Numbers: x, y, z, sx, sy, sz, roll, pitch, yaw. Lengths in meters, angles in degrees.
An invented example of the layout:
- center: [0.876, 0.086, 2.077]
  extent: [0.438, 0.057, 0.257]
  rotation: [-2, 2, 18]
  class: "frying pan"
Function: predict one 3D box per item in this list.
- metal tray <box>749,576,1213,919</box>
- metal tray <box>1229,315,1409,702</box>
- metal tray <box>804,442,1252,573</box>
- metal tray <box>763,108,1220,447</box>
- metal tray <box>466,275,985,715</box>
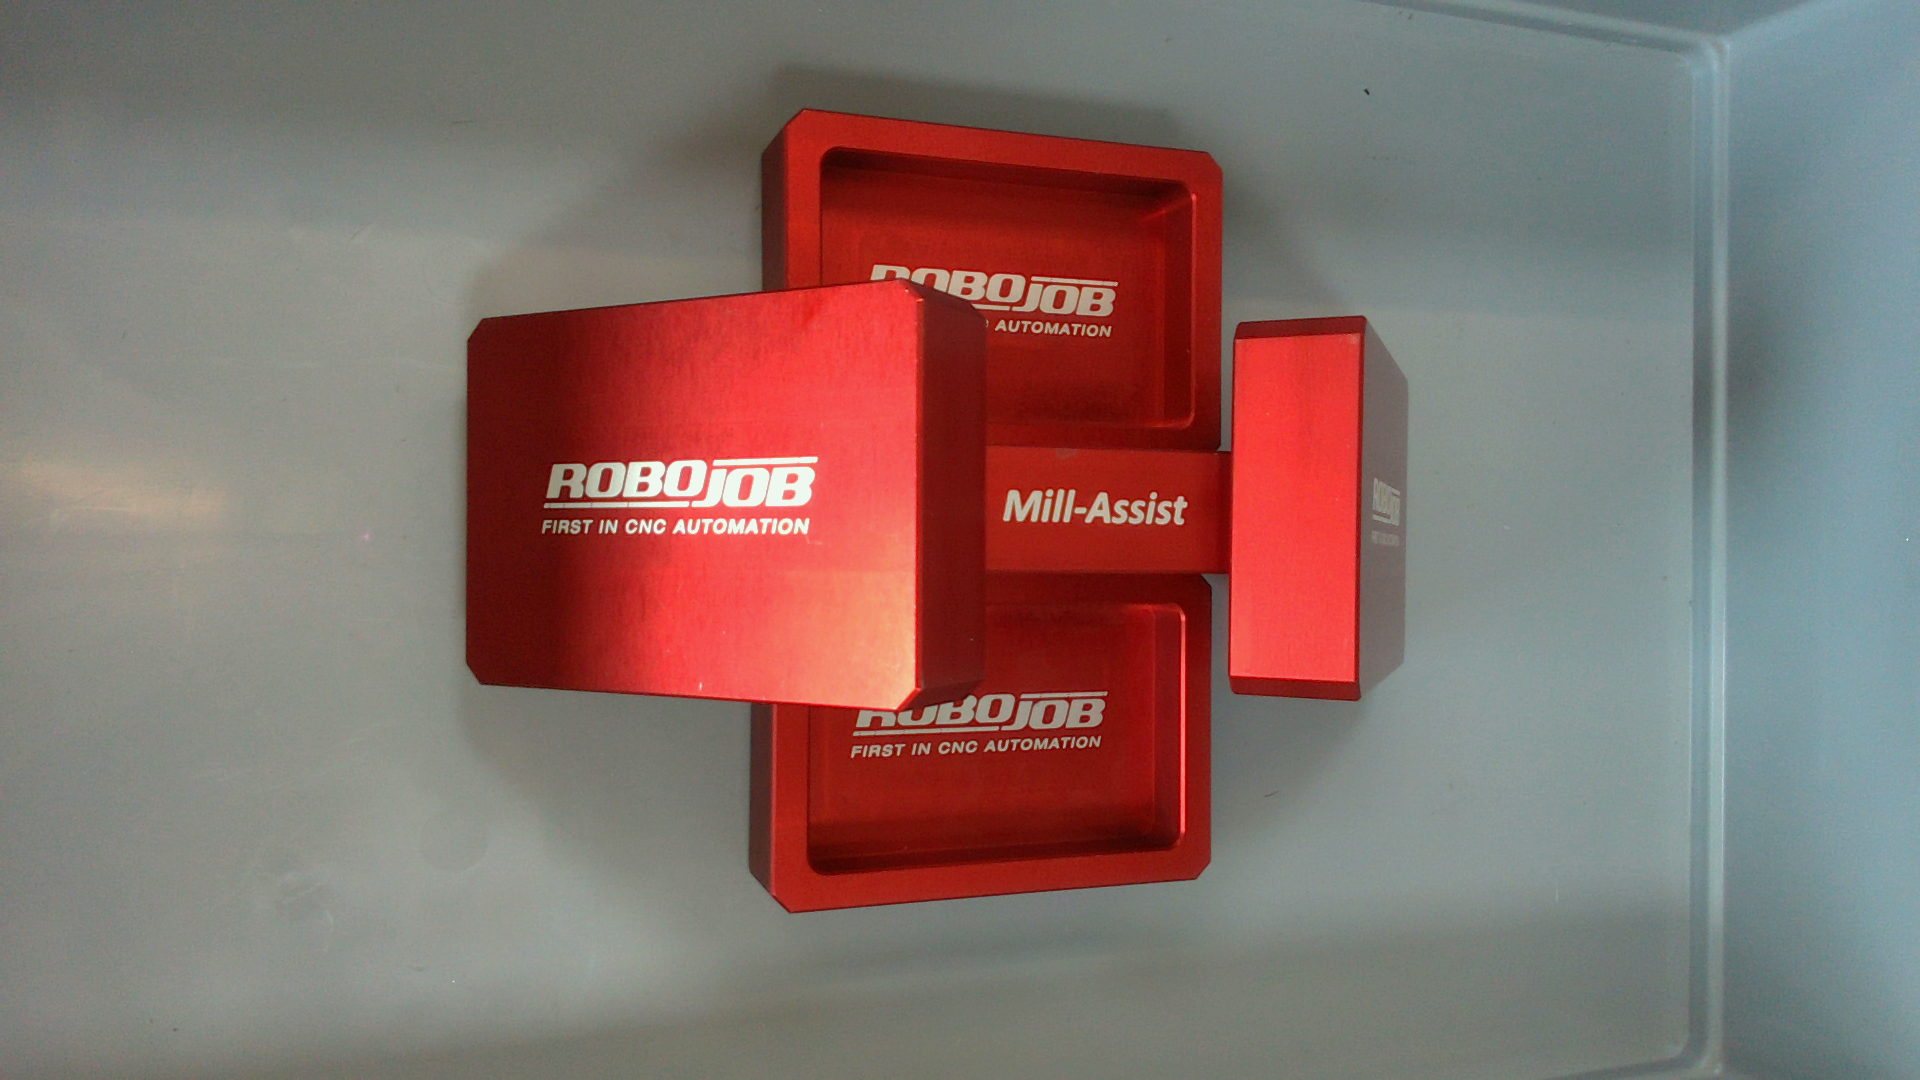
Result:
- center: [0.008, 0.054, 0.391]
  extent: [0.130, 0.030, 0.090]
  rotation: [0, 90, -21]
  class: "metal tray"
- center: [0.103, -0.007, 0.381]
  extent: [0.030, 0.130, 0.090]
  rotation: [1, 90, 23]
  class: "metal tray"
- center: [0.016, -0.007, 0.364]
  extent: [0.130, 0.090, 0.030]
  rotation: [0, 90, -21]
  class: "metal tray"
- center: [0.010, -0.068, 0.393]
  extent: [0.130, 0.030, 0.090]
  rotation: [0, 91, -21]
  class: "metal tray"
- center: [-0.058, -0.009, 0.322]
  extent: [0.030, 0.130, 0.090]
  rotation: [1, 89, -62]
  class: "metal tray"
